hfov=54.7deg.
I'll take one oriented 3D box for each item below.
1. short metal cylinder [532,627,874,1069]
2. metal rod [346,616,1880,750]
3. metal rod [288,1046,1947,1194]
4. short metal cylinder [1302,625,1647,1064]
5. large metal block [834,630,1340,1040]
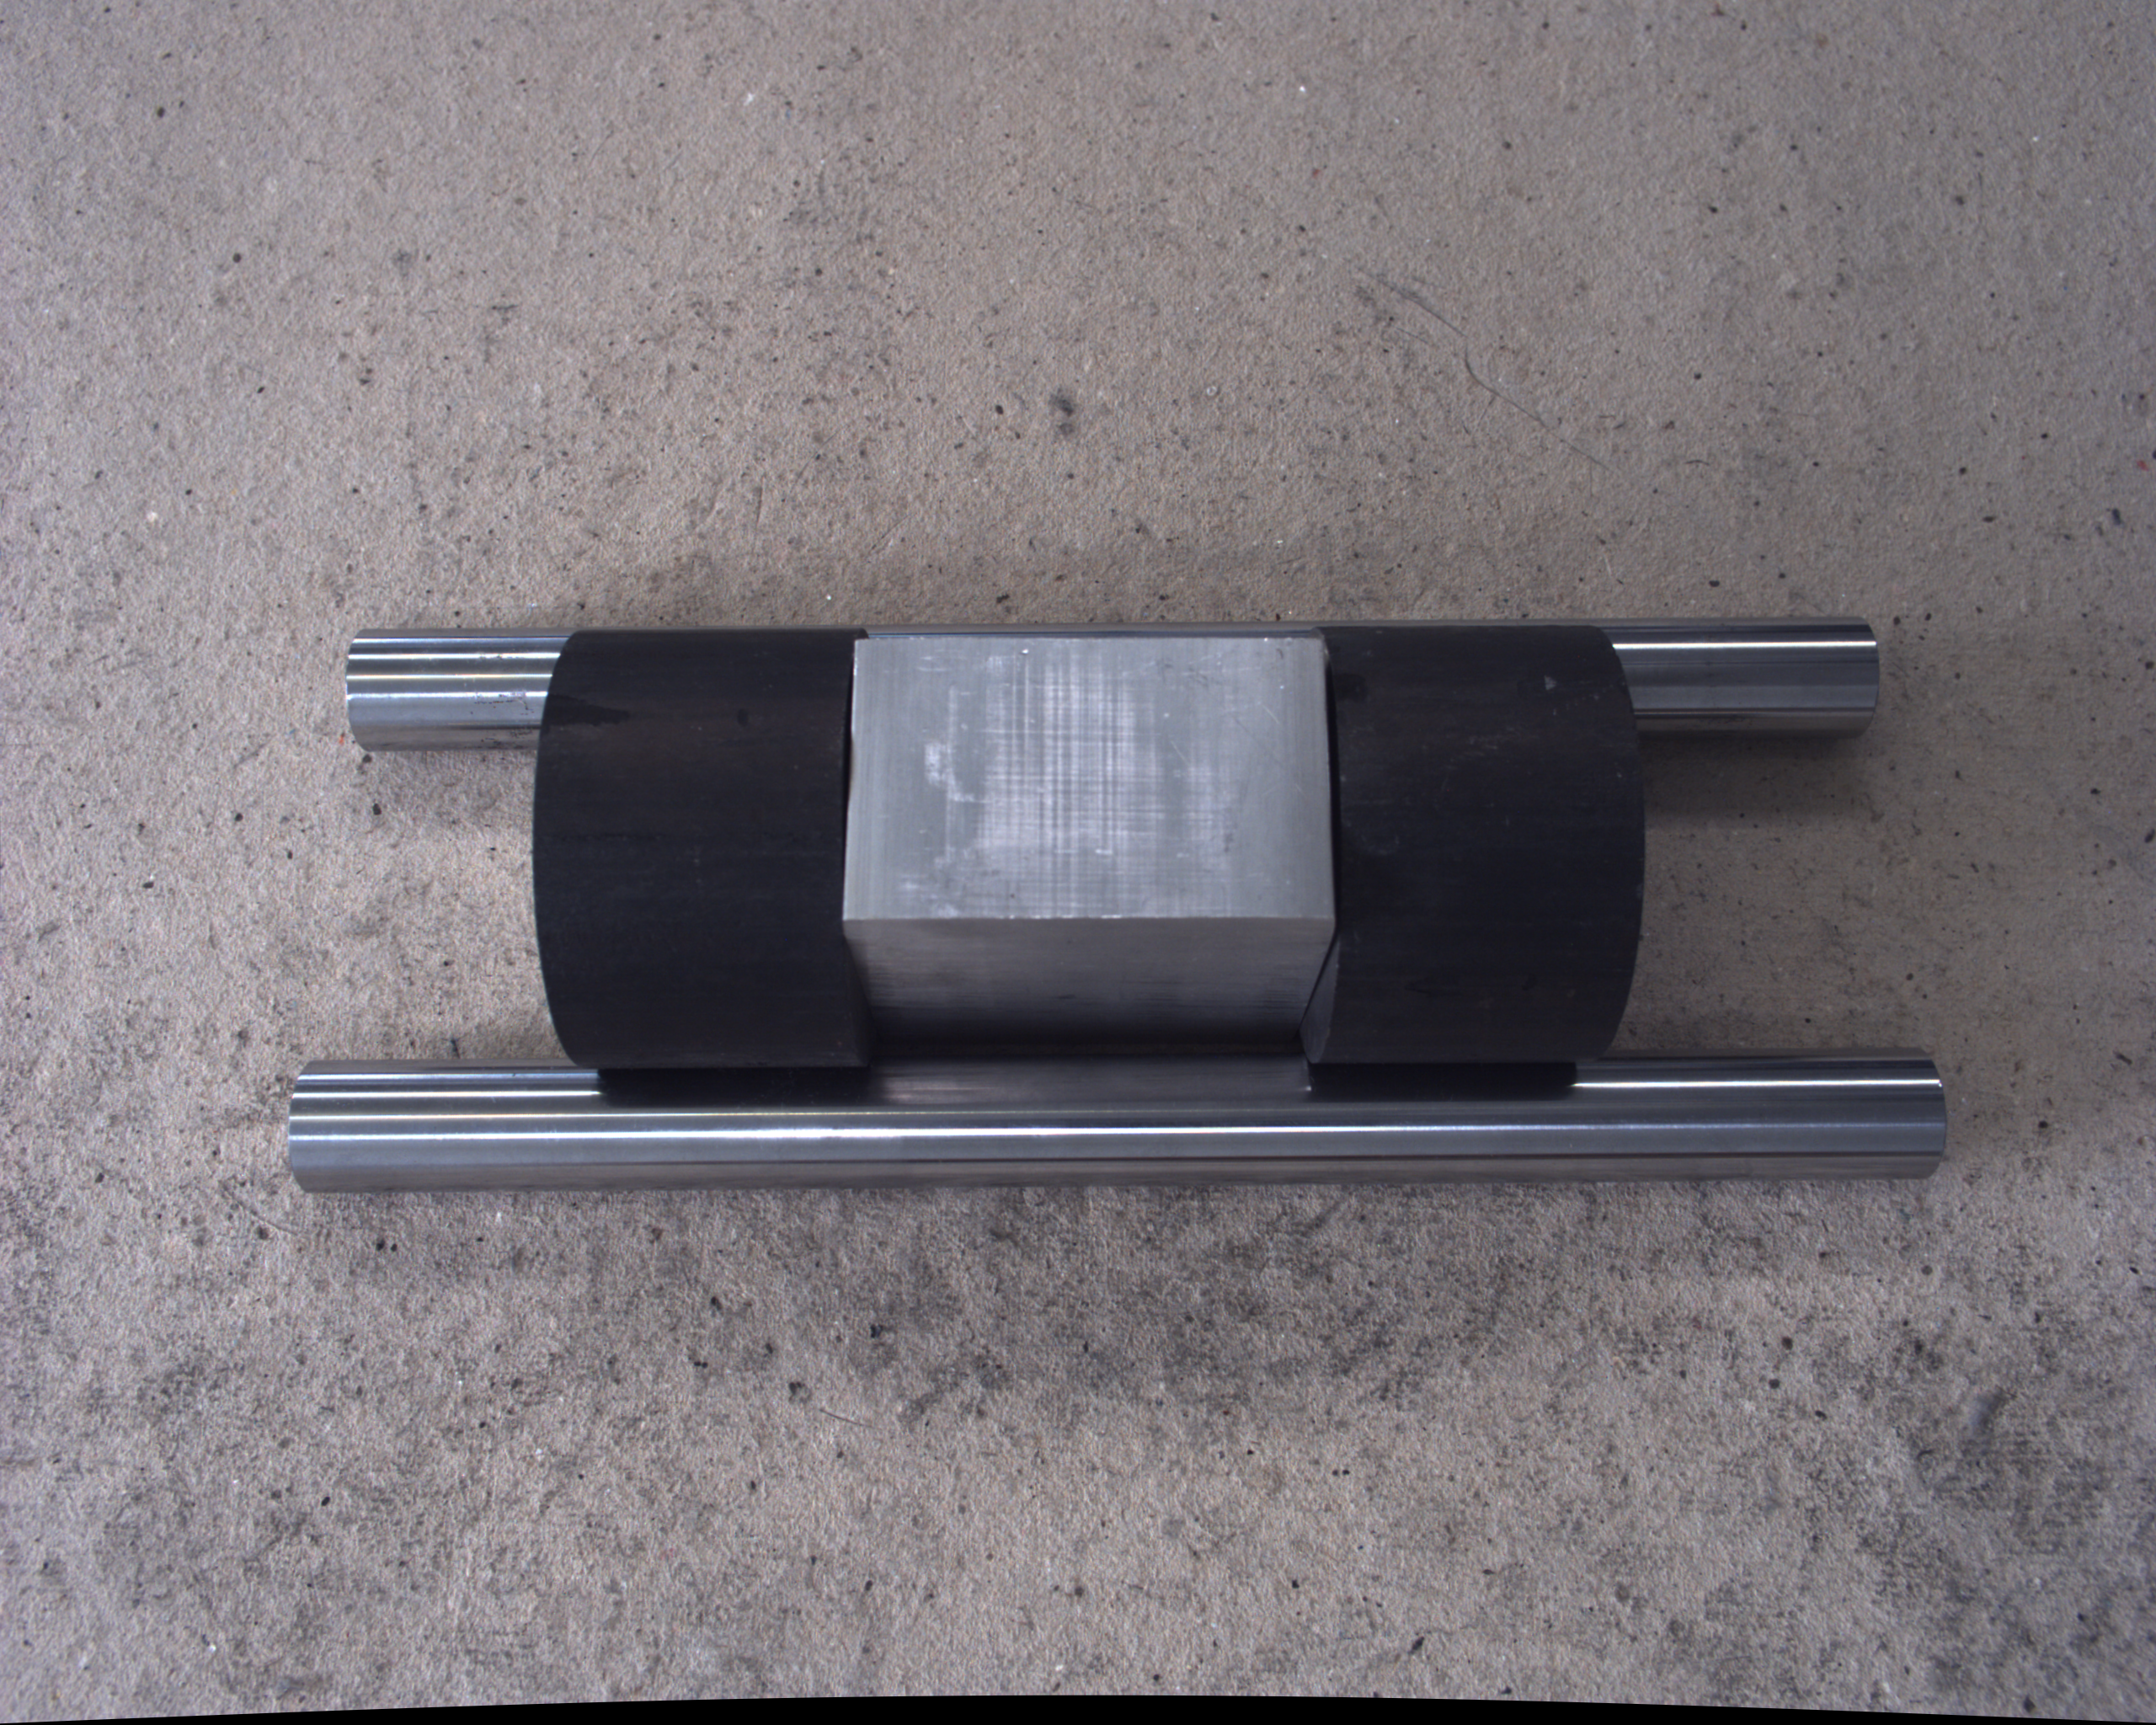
[{"bbox_3d":[-0.064,-0.003,0.380,0.050,0.080,0.080,-1,70,0],"label":"short metal cylinder"},{"bbox_3d":[0.007,-0.036,0.423,0.302,0.025,0.025,0,70,-1],"label":"metal rod"},{"bbox_3d":[0.008,0.048,0.392,0.302,0.025,0.025,0,70,-1],"label":"metal rod"},{"bbox_3d":[0.068,-0.003,0.381,0.050,0.080,0.080,-1,70,0],"label":"short metal cylinder"},{"bbox_3d":[0.002,-0.002,0.378,0.081,0.080,0.050,0,70,0],"label":"large metal block"}]
